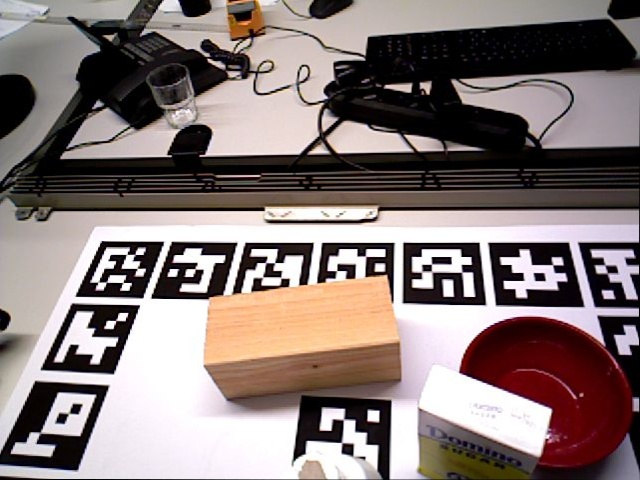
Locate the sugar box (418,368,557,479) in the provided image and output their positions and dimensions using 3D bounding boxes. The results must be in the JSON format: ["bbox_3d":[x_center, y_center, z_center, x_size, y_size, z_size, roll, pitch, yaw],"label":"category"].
[{"bbox_3d":[0.135,0.174,0.452,0.093,0.179,0.044,15,54,25],"label":"sugar box"}]

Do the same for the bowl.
[{"bbox_3d":[0.228,0.156,0.537,0.162,0.056,0.159,-8,47,8],"label":"bowl"}]

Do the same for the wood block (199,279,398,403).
[{"bbox_3d":[-0.024,0.113,0.601,0.206,0.091,0.089,-7,52,3],"label":"wood block"}]

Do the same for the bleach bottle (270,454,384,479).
[{"bbox_3d":[0.002,0.215,0.394,0.102,0.255,0.067,-19,47,-8],"label":"bleach bottle"}]
